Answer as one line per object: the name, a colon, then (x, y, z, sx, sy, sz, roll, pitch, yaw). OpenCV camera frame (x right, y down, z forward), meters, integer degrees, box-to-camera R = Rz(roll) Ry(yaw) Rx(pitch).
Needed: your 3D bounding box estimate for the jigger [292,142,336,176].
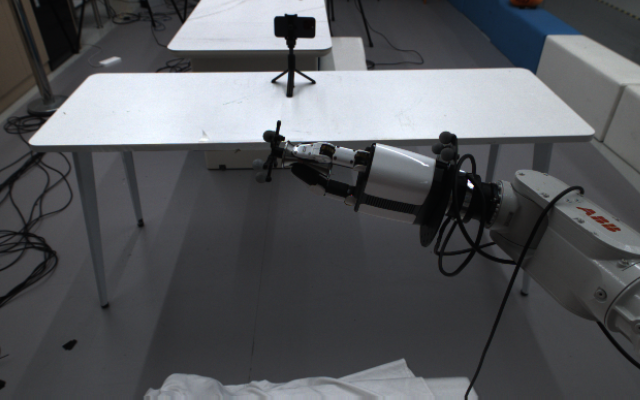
jigger: (-0.010, -0.061, 0.681, 0.071, 0.043, 0.043, 13, 36, 4)
